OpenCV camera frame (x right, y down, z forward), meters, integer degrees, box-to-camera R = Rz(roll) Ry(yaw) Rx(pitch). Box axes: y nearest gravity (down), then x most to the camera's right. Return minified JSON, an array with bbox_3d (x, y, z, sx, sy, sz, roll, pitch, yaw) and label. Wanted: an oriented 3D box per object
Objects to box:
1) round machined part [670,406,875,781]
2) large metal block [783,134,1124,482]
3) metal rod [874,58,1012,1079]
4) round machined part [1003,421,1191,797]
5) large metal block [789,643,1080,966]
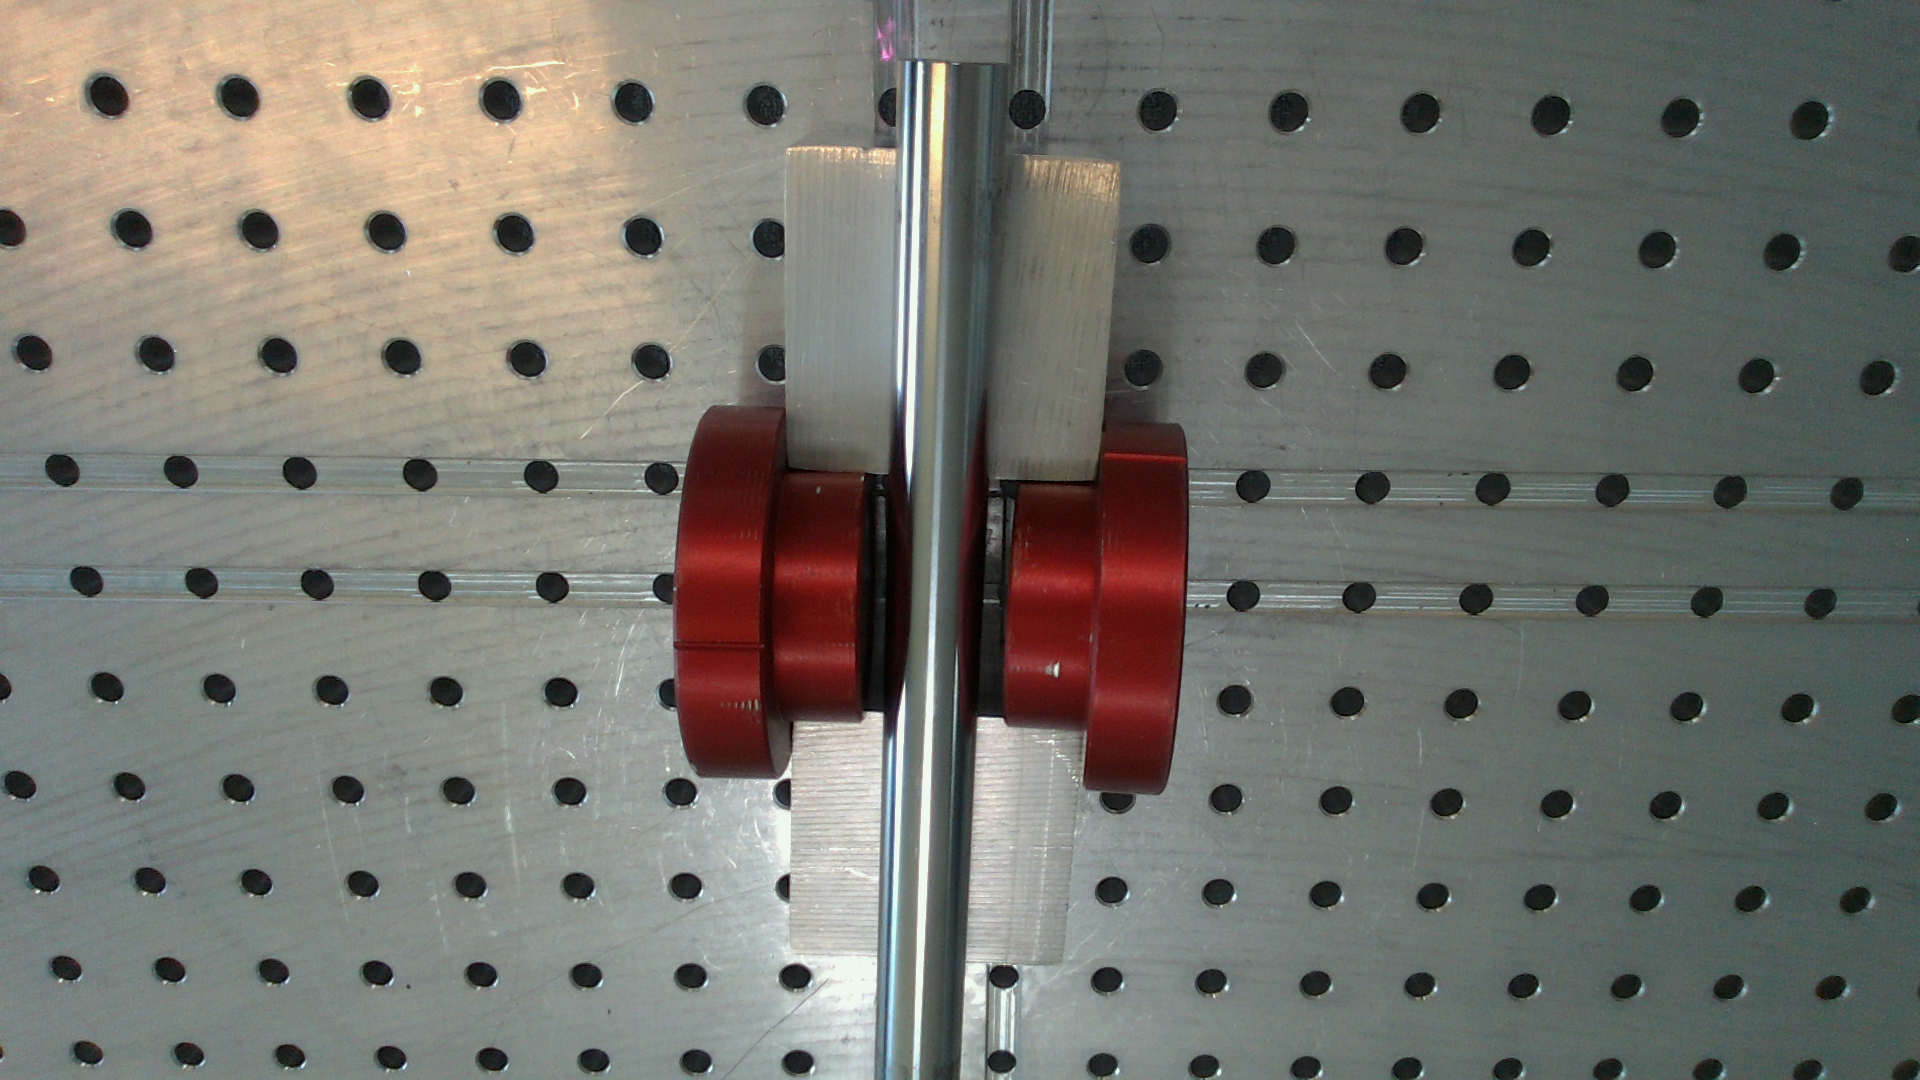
[{"bbox_3d":[-0.045,0.014,0.362,0.042,0.098,0.098,2,110,0],"label":"round machined part"},{"bbox_3d":[-0.003,-0.062,0.360,0.080,0.050,0.080,2,110,-1],"label":"large metal block"},{"bbox_3d":[-0.007,0.035,0.356,0.025,0.025,0.300,2,110,-1],"label":"metal rod"},{"bbox_3d":[0.035,0.017,0.364,0.042,0.098,0.098,3,110,4],"label":"round machined part"},{"bbox_3d":[-0.008,0.077,0.411,0.080,0.050,0.080,3,110,-1],"label":"large metal block"}]
